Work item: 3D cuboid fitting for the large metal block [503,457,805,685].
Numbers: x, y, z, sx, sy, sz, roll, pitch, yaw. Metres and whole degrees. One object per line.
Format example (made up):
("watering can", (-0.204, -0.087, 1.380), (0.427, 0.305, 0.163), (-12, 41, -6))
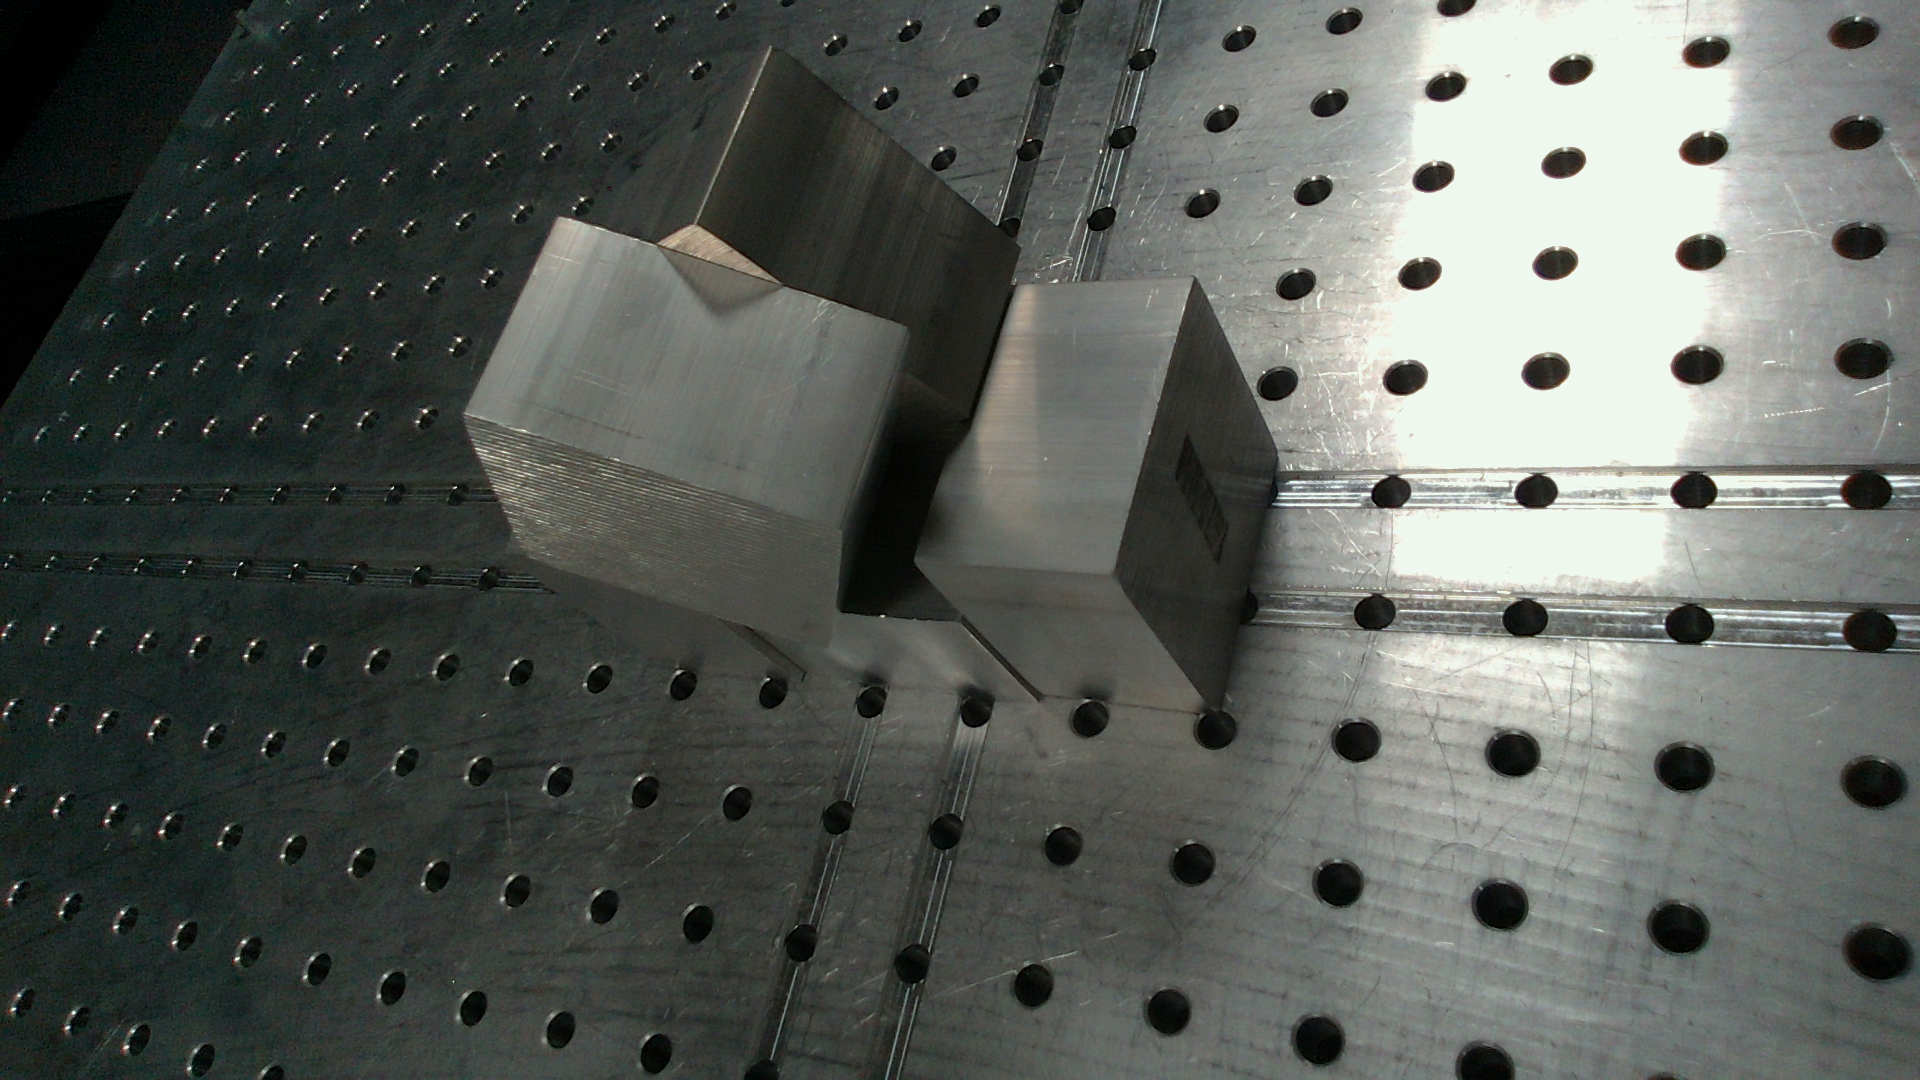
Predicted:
("large metal block", (-0.076, -0.011, 0.409), (0.050, 0.080, 0.080), (2, 62, 29))

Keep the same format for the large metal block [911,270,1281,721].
("large metal block", (0.039, -0.010, 0.346), (0.050, 0.080, 0.080), (4, 63, 30))

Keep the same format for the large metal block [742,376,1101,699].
("large metal block", (-0.012, -0.006, 0.388), (0.080, 0.050, 0.080), (3, 63, 30))

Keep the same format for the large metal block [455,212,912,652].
("large metal block", (-0.060, -0.021, 0.320), (0.080, 0.080, 0.050), (17, 66, 0))

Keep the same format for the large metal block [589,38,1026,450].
("large metal block", (-0.045, -0.064, 0.342), (0.080, 0.080, 0.050), (-13, 52, 49))
